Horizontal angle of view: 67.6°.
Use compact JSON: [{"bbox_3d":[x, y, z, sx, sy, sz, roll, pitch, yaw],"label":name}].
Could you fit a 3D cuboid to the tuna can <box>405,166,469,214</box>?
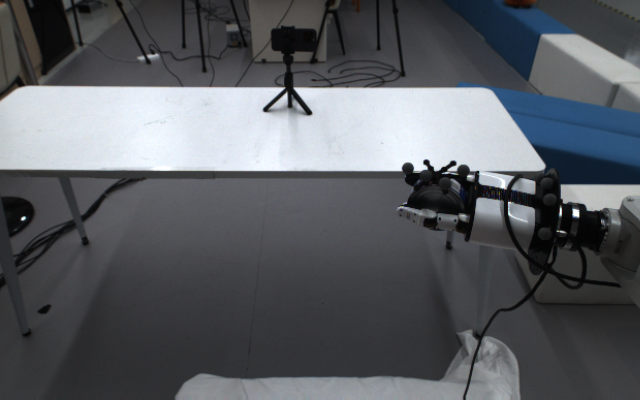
[{"bbox_3d":[0.179,0.001,0.736,0.085,0.085,0.034,14,41,16],"label":"tuna can"}]
